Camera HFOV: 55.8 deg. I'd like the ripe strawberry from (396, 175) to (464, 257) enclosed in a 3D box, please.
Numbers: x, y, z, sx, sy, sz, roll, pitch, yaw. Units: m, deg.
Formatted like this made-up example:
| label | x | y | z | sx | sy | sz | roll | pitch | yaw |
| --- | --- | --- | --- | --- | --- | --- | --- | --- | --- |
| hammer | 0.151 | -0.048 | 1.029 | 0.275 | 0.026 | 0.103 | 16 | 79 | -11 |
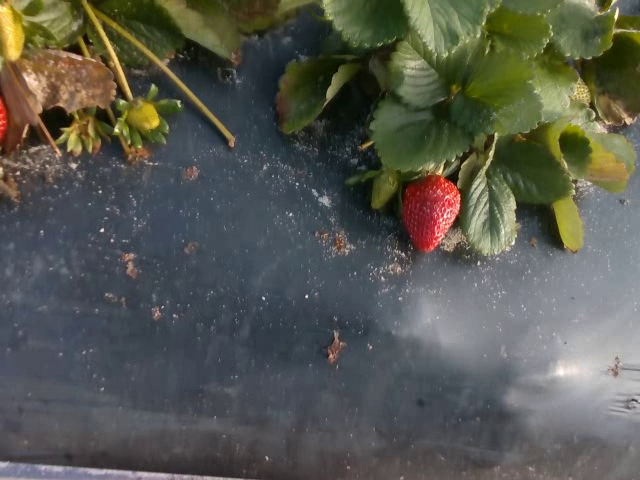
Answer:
| label | x | y | z | sx | sy | sz | roll | pitch | yaw |
| --- | --- | --- | --- | --- | --- | --- | --- | --- | --- |
| ripe strawberry | 0.045 | -0.009 | 0.243 | 0.029 | 0.036 | 0.021 | 8 | -16 | -2 |
